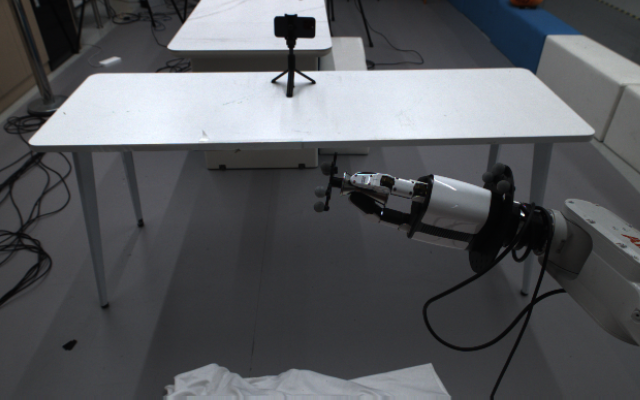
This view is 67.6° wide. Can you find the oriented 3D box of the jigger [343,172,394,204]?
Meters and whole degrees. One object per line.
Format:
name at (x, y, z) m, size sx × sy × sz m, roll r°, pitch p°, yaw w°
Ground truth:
jigger at (0.073, -0.022, 0.705) m, size 0.071 × 0.043 × 0.043 m, roll 11°, pitch 35°, yaw 3°
